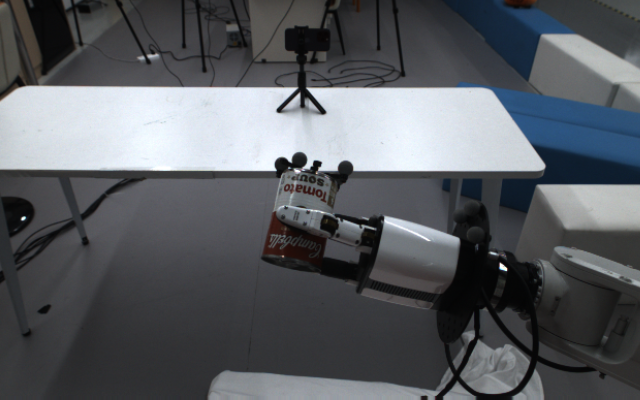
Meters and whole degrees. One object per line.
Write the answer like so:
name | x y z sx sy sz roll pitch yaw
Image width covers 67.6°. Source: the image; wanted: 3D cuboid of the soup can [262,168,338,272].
soup can | -0.020 0.022 0.540 0.067 0.067 0.101 9 74 9
